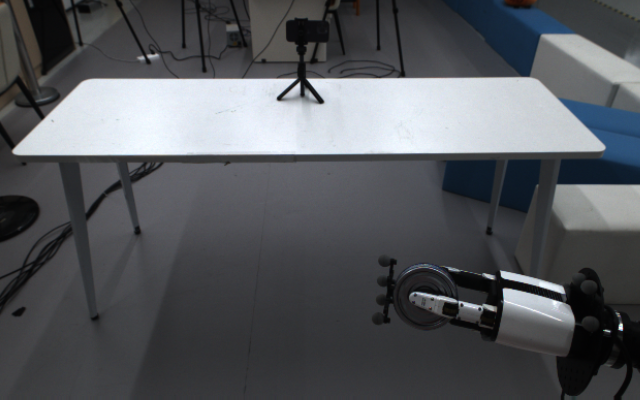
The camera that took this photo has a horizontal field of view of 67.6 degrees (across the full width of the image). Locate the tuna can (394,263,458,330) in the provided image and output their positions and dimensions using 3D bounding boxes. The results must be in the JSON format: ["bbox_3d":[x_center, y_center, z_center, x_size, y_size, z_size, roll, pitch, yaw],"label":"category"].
[{"bbox_3d":[0.143,0.126,0.646,0.085,0.085,0.034,10,1,11],"label":"tuna can"}]
